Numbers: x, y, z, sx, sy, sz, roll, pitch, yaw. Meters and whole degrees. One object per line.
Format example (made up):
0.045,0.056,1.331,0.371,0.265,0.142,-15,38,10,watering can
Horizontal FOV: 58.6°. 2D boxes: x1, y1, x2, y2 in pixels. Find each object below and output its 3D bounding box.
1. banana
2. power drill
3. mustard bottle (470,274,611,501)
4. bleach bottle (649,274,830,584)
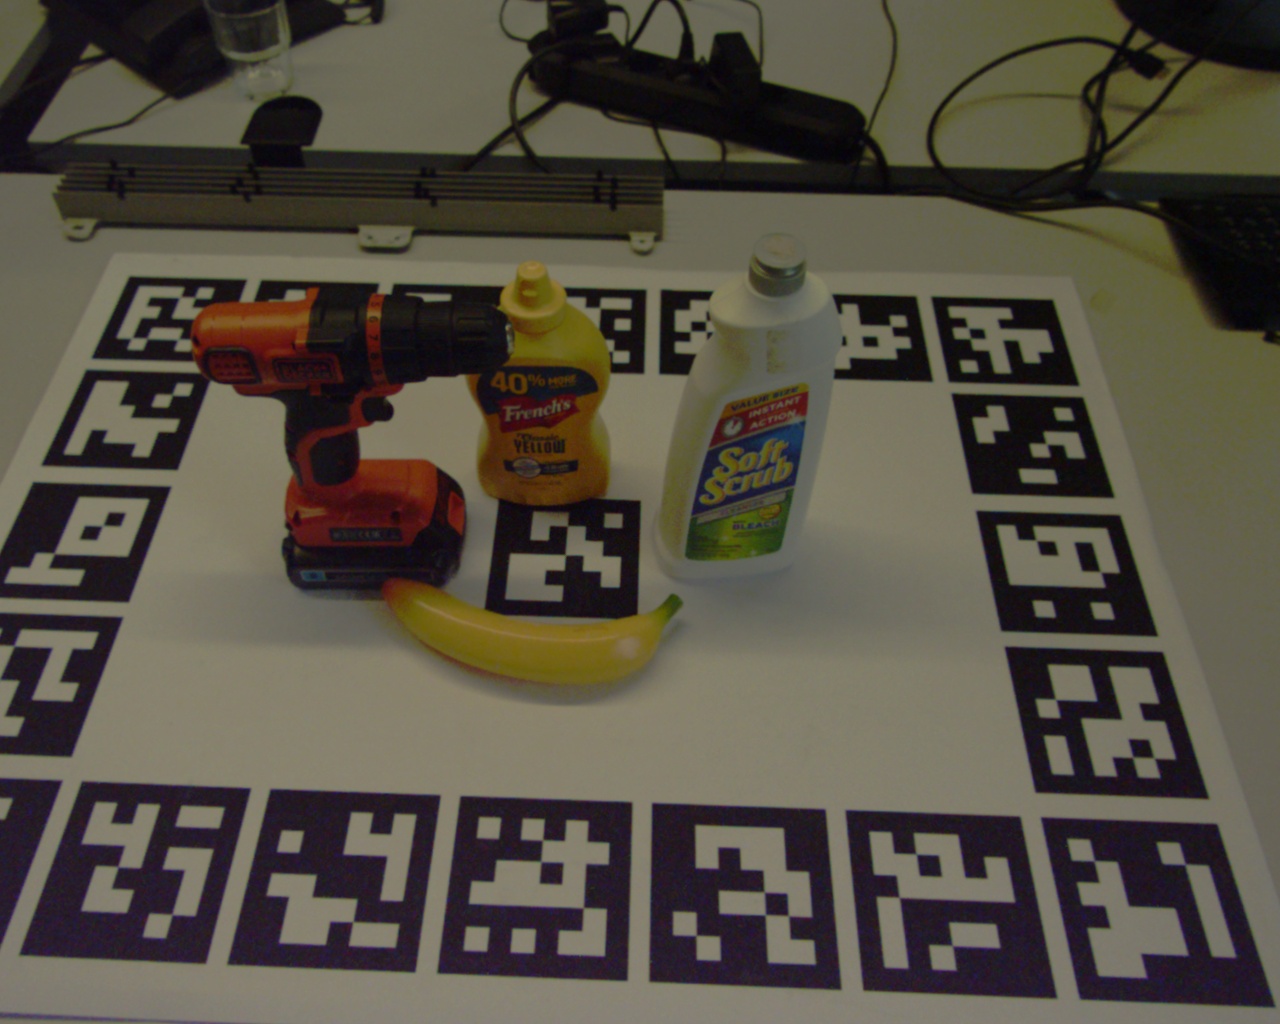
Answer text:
-0.068,0.073,0.758,0.198,0.038,0.074,3,57,4,banana
-0.170,-0.052,0.737,0.184,0.186,0.057,1,46,-4,power drill
-0.068,-0.086,0.787,0.096,0.191,0.058,3,52,-1,mustard bottle
0.061,-0.049,0.733,0.102,0.250,0.068,-5,54,-5,bleach bottle
